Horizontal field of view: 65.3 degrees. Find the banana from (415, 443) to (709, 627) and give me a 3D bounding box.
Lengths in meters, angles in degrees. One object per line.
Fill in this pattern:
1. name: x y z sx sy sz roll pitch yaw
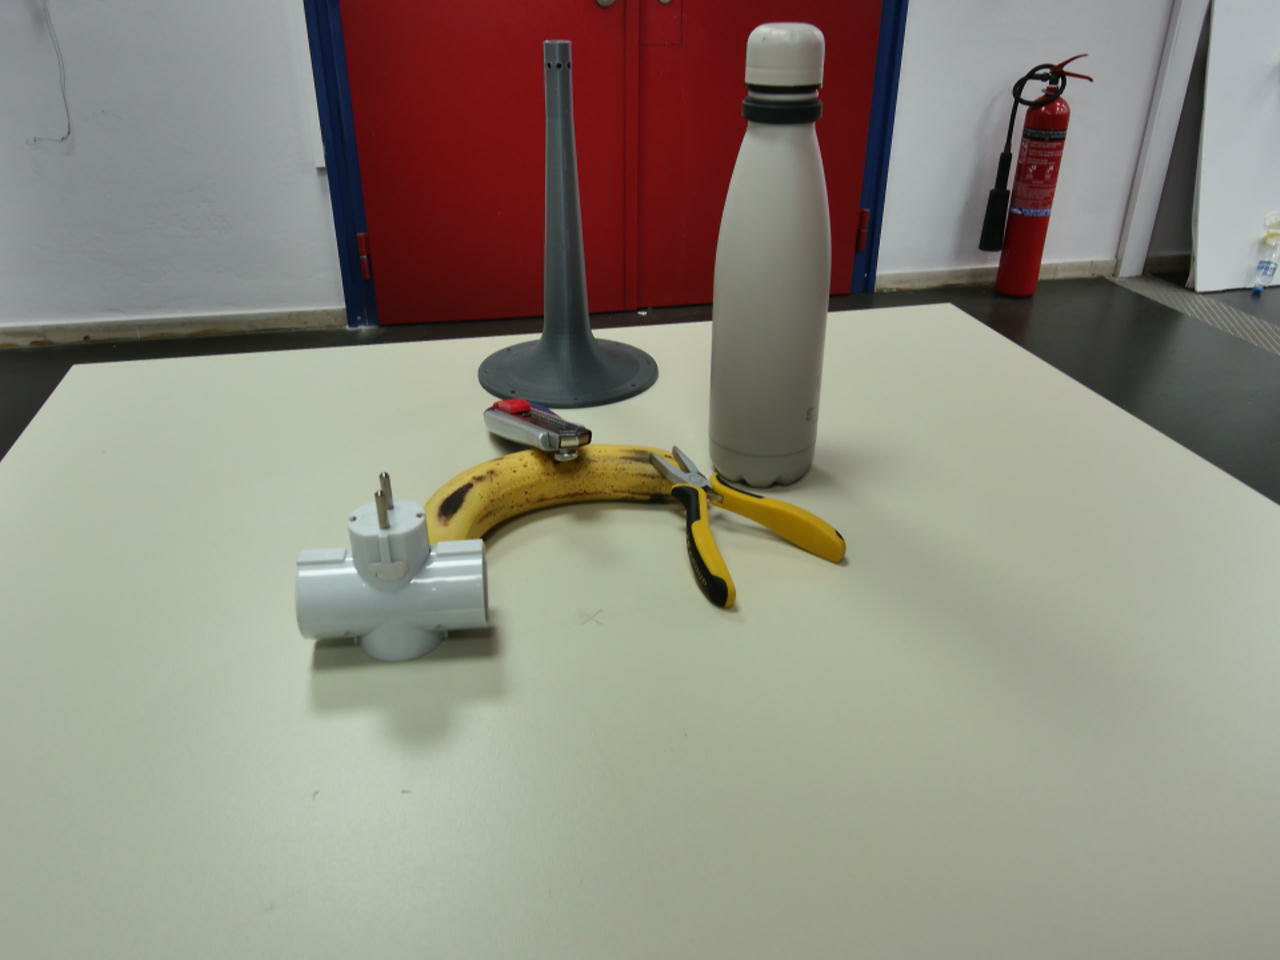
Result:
1. banana: -0.055 0.013 0.602 0.186 0.038 0.097 -21 33 -36
